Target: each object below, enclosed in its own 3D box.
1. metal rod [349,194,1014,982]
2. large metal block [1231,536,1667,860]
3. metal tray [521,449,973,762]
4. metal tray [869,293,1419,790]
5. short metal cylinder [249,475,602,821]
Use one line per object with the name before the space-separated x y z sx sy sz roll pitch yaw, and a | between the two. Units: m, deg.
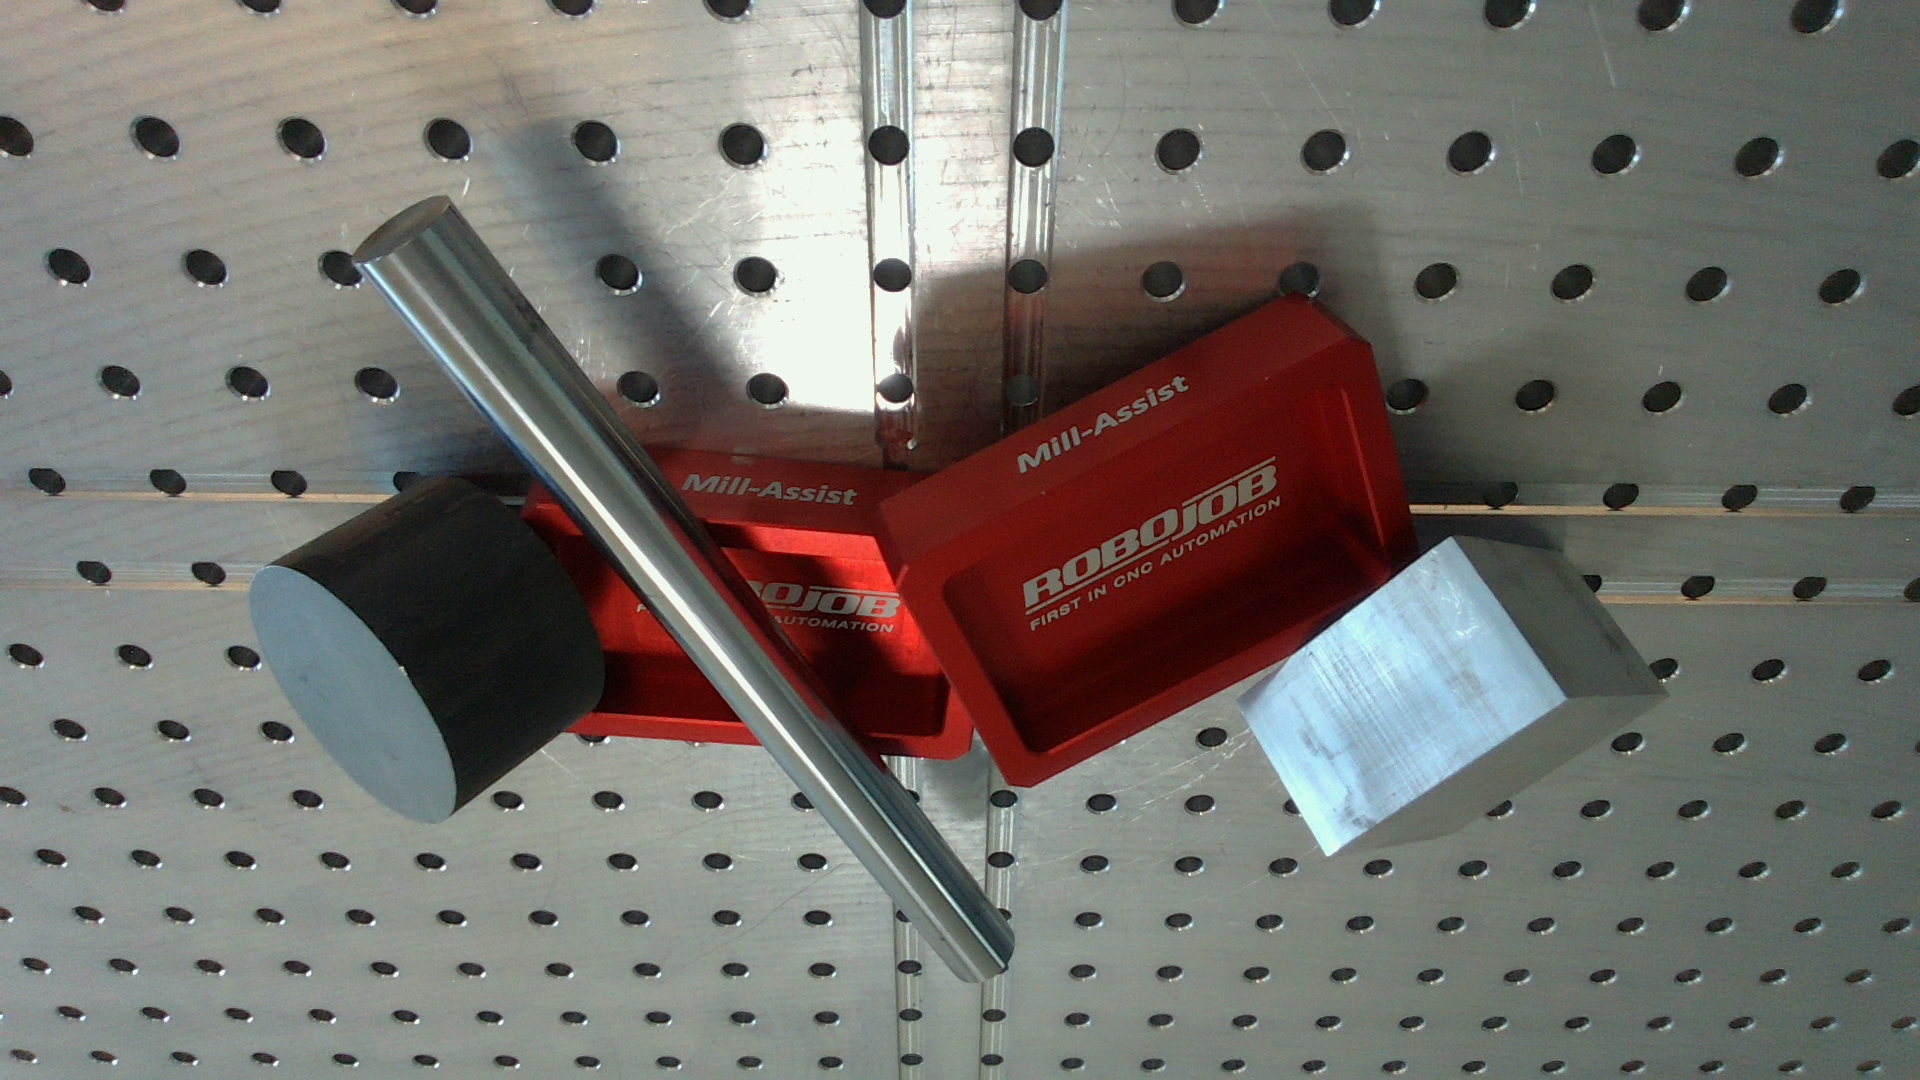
metal rod | -0.057 0.037 0.385 0.025 0.025 0.301 -20 127 16
large metal block | 0.140 0.046 0.394 0.080 0.050 0.080 6 139 -47
metal tray | -0.057 0.021 0.407 0.130 0.030 0.090 5 130 -4
metal tray | 0.053 0.003 0.369 0.130 0.030 0.090 -27 127 0
short metal cylinder | -0.146 0.029 0.377 0.080 0.050 0.080 22 131 28
